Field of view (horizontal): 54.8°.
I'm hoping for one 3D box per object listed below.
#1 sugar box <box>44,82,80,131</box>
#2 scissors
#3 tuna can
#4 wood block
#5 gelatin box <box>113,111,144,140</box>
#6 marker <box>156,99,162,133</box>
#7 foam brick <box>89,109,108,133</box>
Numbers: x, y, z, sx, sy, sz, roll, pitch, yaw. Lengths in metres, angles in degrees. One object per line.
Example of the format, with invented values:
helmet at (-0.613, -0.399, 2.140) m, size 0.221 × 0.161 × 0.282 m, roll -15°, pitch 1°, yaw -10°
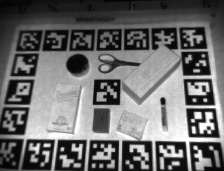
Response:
sugar box at (-0.182, 0.077, 0.799) m, size 0.092 × 0.045 × 0.176 m, roll 6°, pitch 72°, yaw 6°
scissors at (0.028, -0.083, 0.848) m, size 0.202 × 0.016 × 0.087 m, roll 8°, pitch 73°, yaw 10°
tuna can at (-0.146, -0.082, 0.850) m, size 0.085 × 0.034 × 0.085 m, roll -1°, pitch 72°, yaw 5°
wood block at (0.136, -0.032, 0.785) m, size 0.207 × 0.091 × 0.089 m, roll -42°, pitch 72°, yaw -10°
gelatin box at (0.058, 0.141, 0.763) m, size 0.089 × 0.030 × 0.073 m, roll 20°, pitch 75°, yaw 11°
marker at (0.169, 0.106, 0.769) m, size 0.019 × 0.020 × 0.121 m, roll 3°, pitch 74°, yaw 7°
foam brick at (-0.046, 0.126, 0.762) m, size 0.052 × 0.051 × 0.078 m, roll 3°, pitch 73°, yaw 7°
